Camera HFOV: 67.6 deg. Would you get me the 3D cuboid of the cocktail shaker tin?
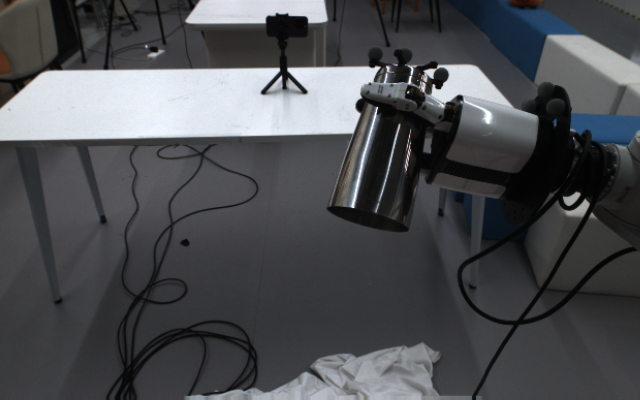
[{"bbox_3d":[0.077,-0.061,0.539,0.093,0.093,0.170,13,79,15],"label":"cocktail shaker tin"}]
